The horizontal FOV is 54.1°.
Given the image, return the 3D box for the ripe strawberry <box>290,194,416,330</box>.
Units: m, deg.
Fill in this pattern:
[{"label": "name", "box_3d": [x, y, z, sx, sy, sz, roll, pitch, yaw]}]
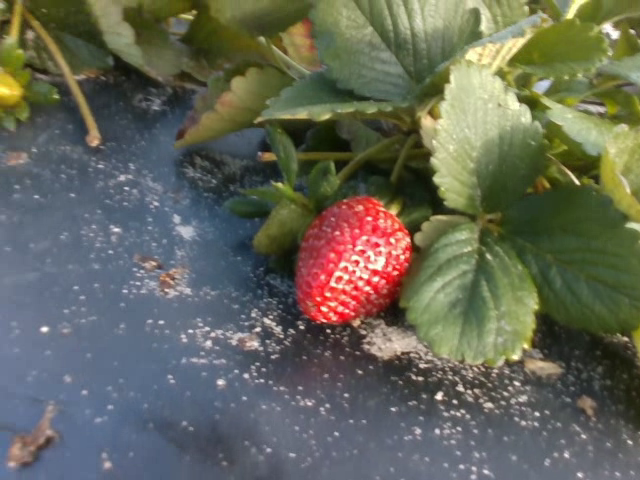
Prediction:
[{"label": "ripe strawberry", "box_3d": [0.004, 0.004, 0.123, 0.029, 0.021, 0.036, 15, 39, 21]}]
